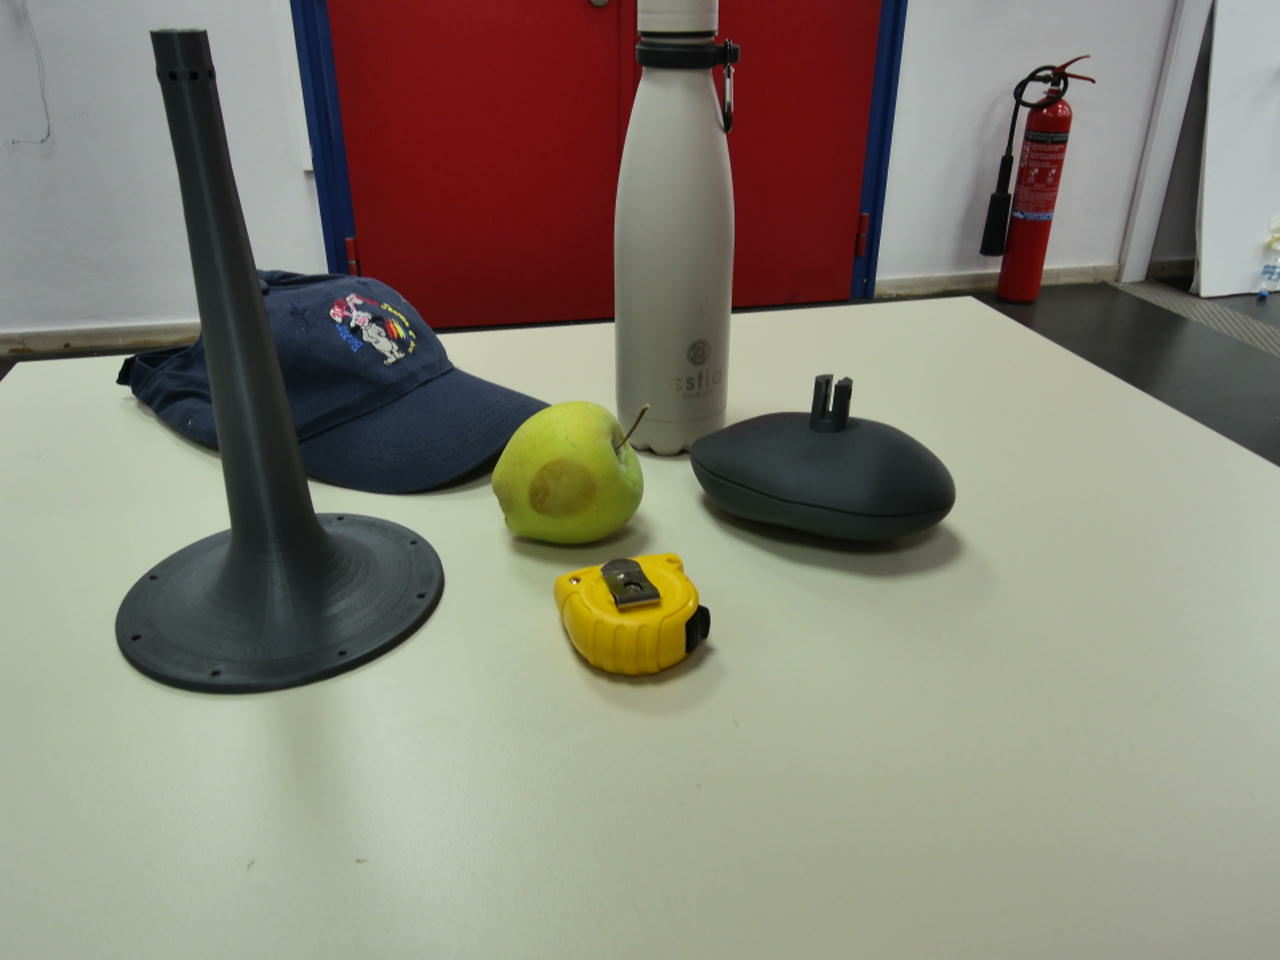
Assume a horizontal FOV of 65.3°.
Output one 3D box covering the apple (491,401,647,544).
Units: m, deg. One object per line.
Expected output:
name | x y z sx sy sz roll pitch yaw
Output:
apple | -0.037 -0.005 0.529 0.077 0.075 0.072 16 29 28
